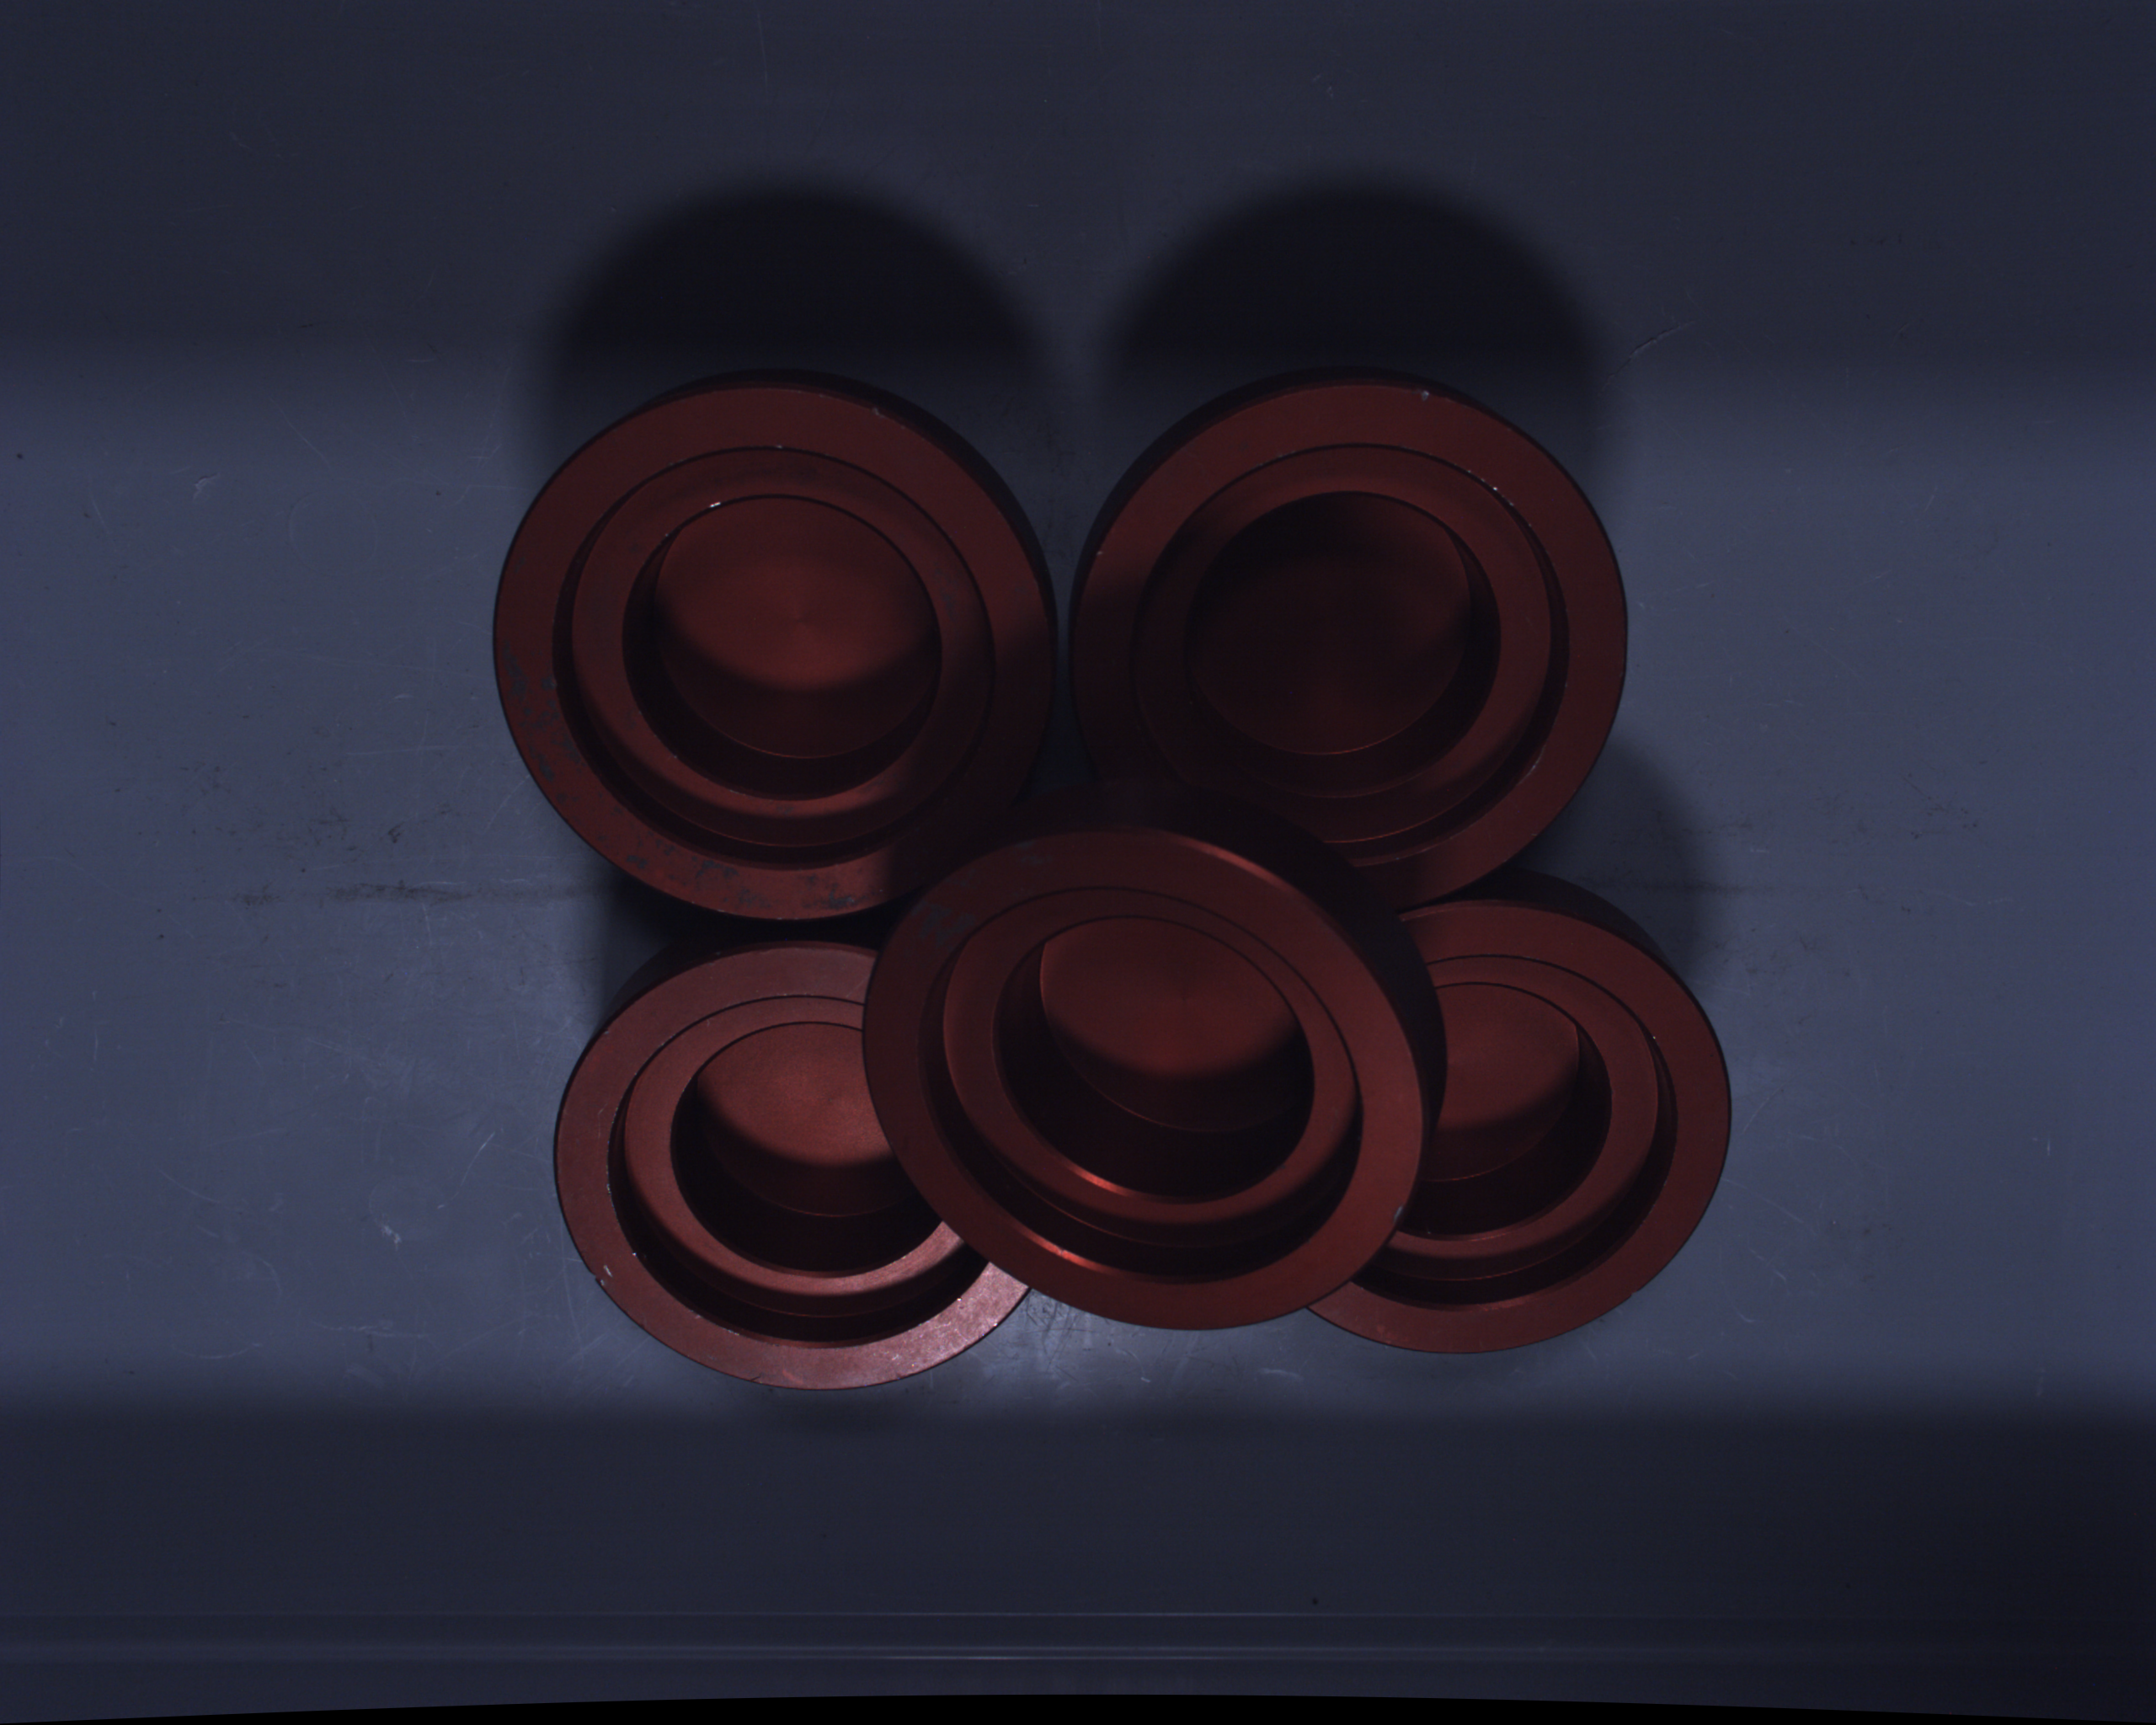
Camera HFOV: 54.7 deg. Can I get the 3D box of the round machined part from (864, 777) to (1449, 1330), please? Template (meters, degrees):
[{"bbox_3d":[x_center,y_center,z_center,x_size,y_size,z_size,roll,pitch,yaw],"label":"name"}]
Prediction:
[{"bbox_3d":[0.016,0.030,0.366,0.098,0.042,0.097,8,116,16],"label":"round machined part"}]

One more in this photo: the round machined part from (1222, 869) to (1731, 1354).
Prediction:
[{"bbox_3d":[0.076,0.046,0.418,0.099,0.042,0.097,0,110,-1],"label":"round machined part"}]

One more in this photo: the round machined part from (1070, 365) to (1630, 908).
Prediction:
[{"bbox_3d":[0.048,-0.043,0.385,0.099,0.042,0.097,0,110,-1],"label":"round machined part"}]

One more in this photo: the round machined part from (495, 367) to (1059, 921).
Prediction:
[{"bbox_3d":[-0.053,-0.042,0.384,0.099,0.042,0.097,0,110,-1],"label":"round machined part"}]

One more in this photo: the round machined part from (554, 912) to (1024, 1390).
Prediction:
[{"bbox_3d":[-0.051,0.053,0.419,0.099,0.042,0.097,0,110,-1],"label":"round machined part"}]
